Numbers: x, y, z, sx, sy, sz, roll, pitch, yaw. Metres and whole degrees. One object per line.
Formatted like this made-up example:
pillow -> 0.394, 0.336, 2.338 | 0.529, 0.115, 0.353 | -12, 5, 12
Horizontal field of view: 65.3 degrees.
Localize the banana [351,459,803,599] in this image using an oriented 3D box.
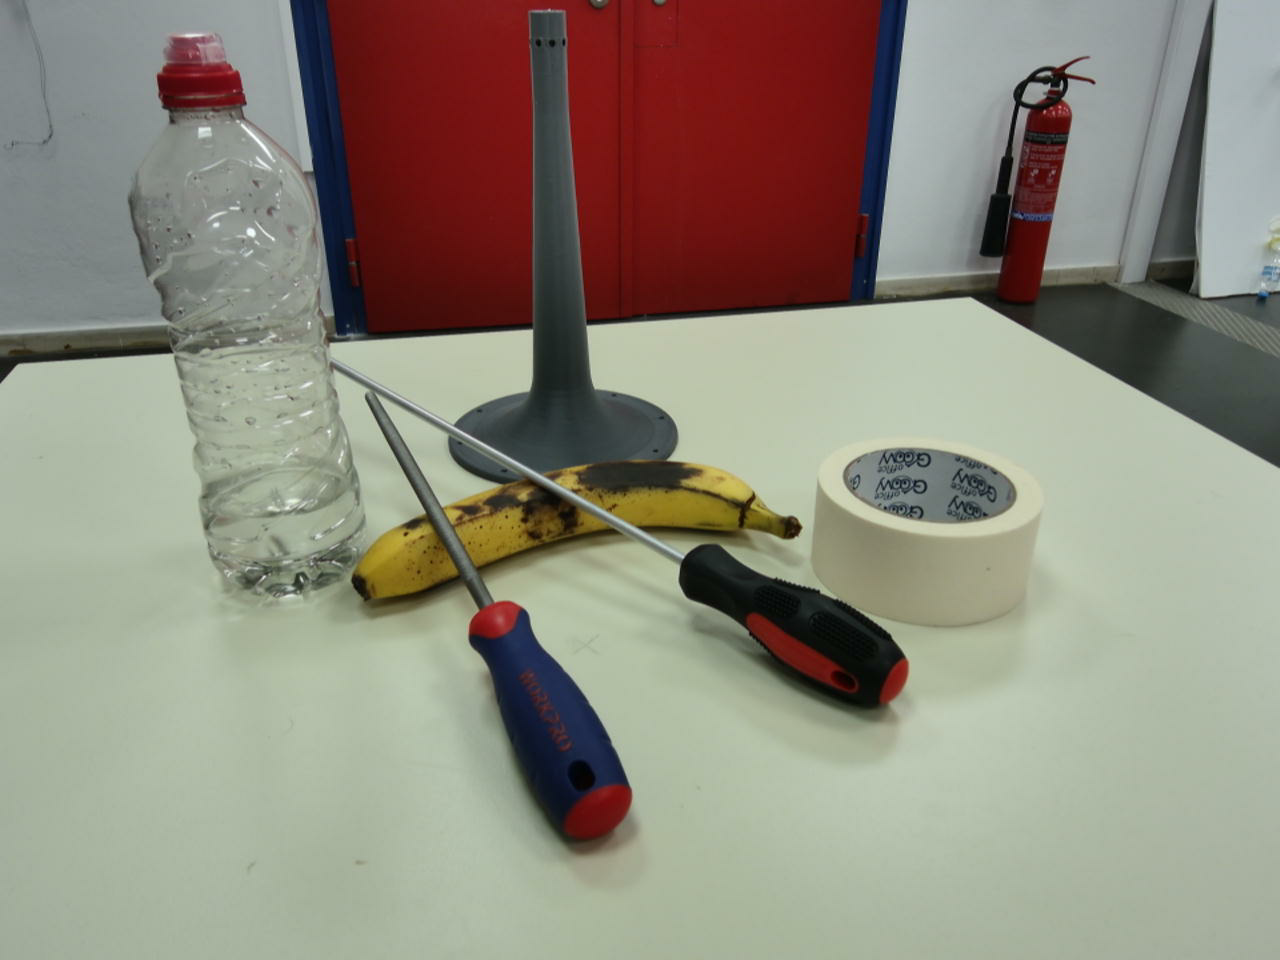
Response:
banana -> -0.034, 0.020, 0.521 | 0.222, 0.037, 0.084 | -6, 26, -12
